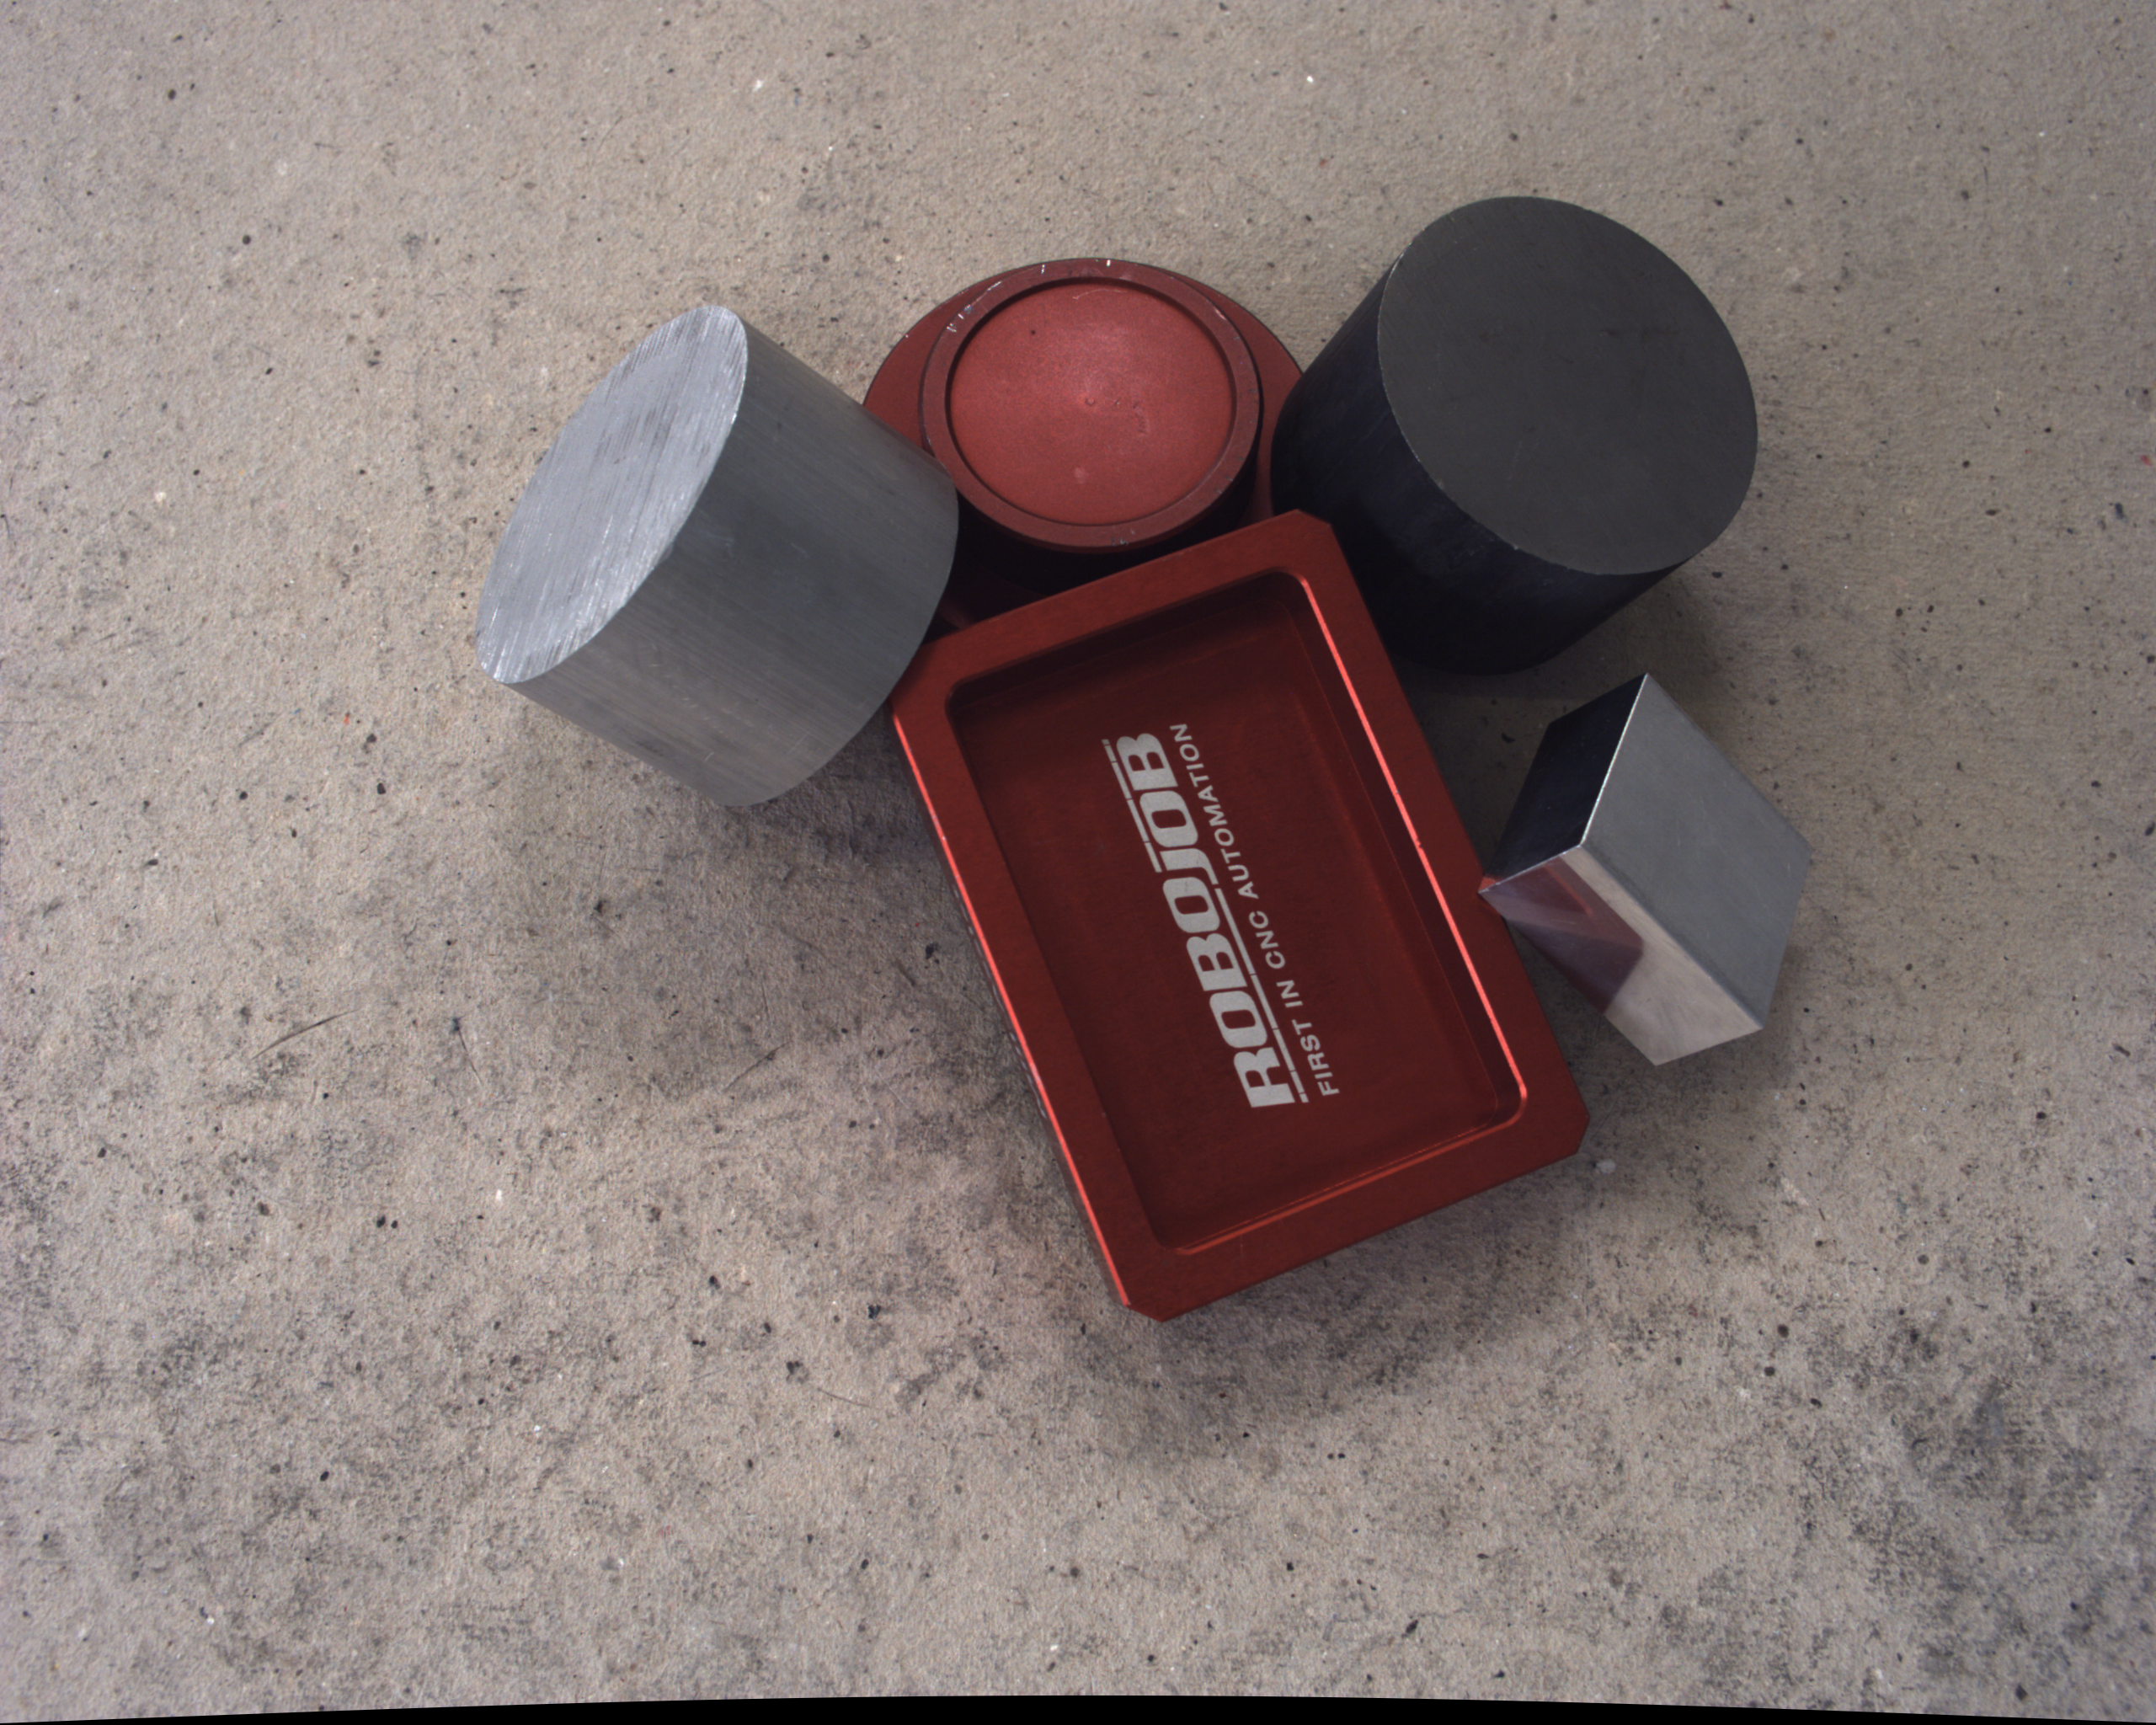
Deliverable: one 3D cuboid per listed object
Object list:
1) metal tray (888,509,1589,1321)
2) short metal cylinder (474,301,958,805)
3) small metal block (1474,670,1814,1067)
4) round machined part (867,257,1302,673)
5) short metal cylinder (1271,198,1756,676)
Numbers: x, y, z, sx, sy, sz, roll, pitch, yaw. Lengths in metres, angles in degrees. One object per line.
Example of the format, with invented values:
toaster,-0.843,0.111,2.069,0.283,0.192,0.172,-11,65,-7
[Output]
metal tray,0.027,0.009,0.392,0.091,0.030,0.129,-21,81,-8
short metal cylinder,-0.069,-0.057,0.394,0.050,0.080,0.080,32,66,-36
small metal block,0.107,0.001,0.391,0.050,0.025,0.050,43,49,-13
round machined part,0.002,-0.085,0.432,0.099,0.042,0.098,0,70,0
short metal cylinder,0.086,-0.084,0.416,0.081,0.050,0.080,6,71,-17
